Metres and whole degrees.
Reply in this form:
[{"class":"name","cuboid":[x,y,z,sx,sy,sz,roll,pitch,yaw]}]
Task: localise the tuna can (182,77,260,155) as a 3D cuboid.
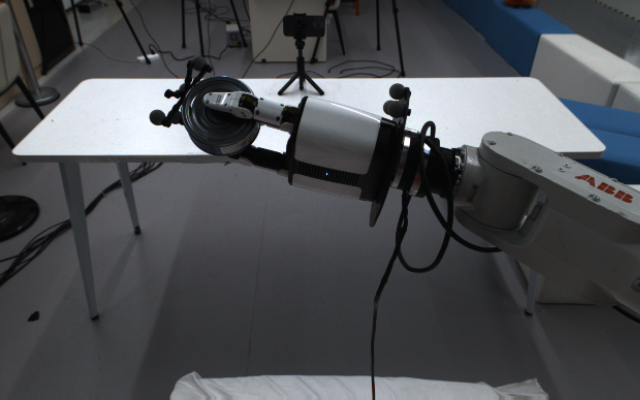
[{"class":"tuna can","cuboid":[-0.107,-0.091,0.543,0.085,0.034,0.085,1,77,-6]}]
